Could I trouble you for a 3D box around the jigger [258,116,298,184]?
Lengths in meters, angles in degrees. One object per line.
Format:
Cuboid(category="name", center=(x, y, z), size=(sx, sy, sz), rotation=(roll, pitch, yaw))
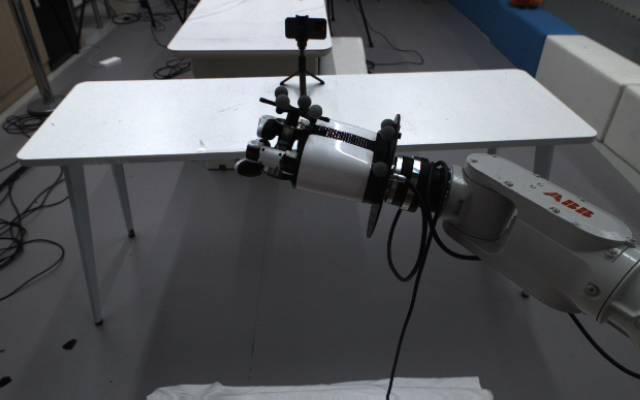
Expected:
Cuboid(category="jigger", center=(-0.045, -0.064, 0.610), size=(0.043, 0.071, 0.043), rotation=(18, 17, -6))
